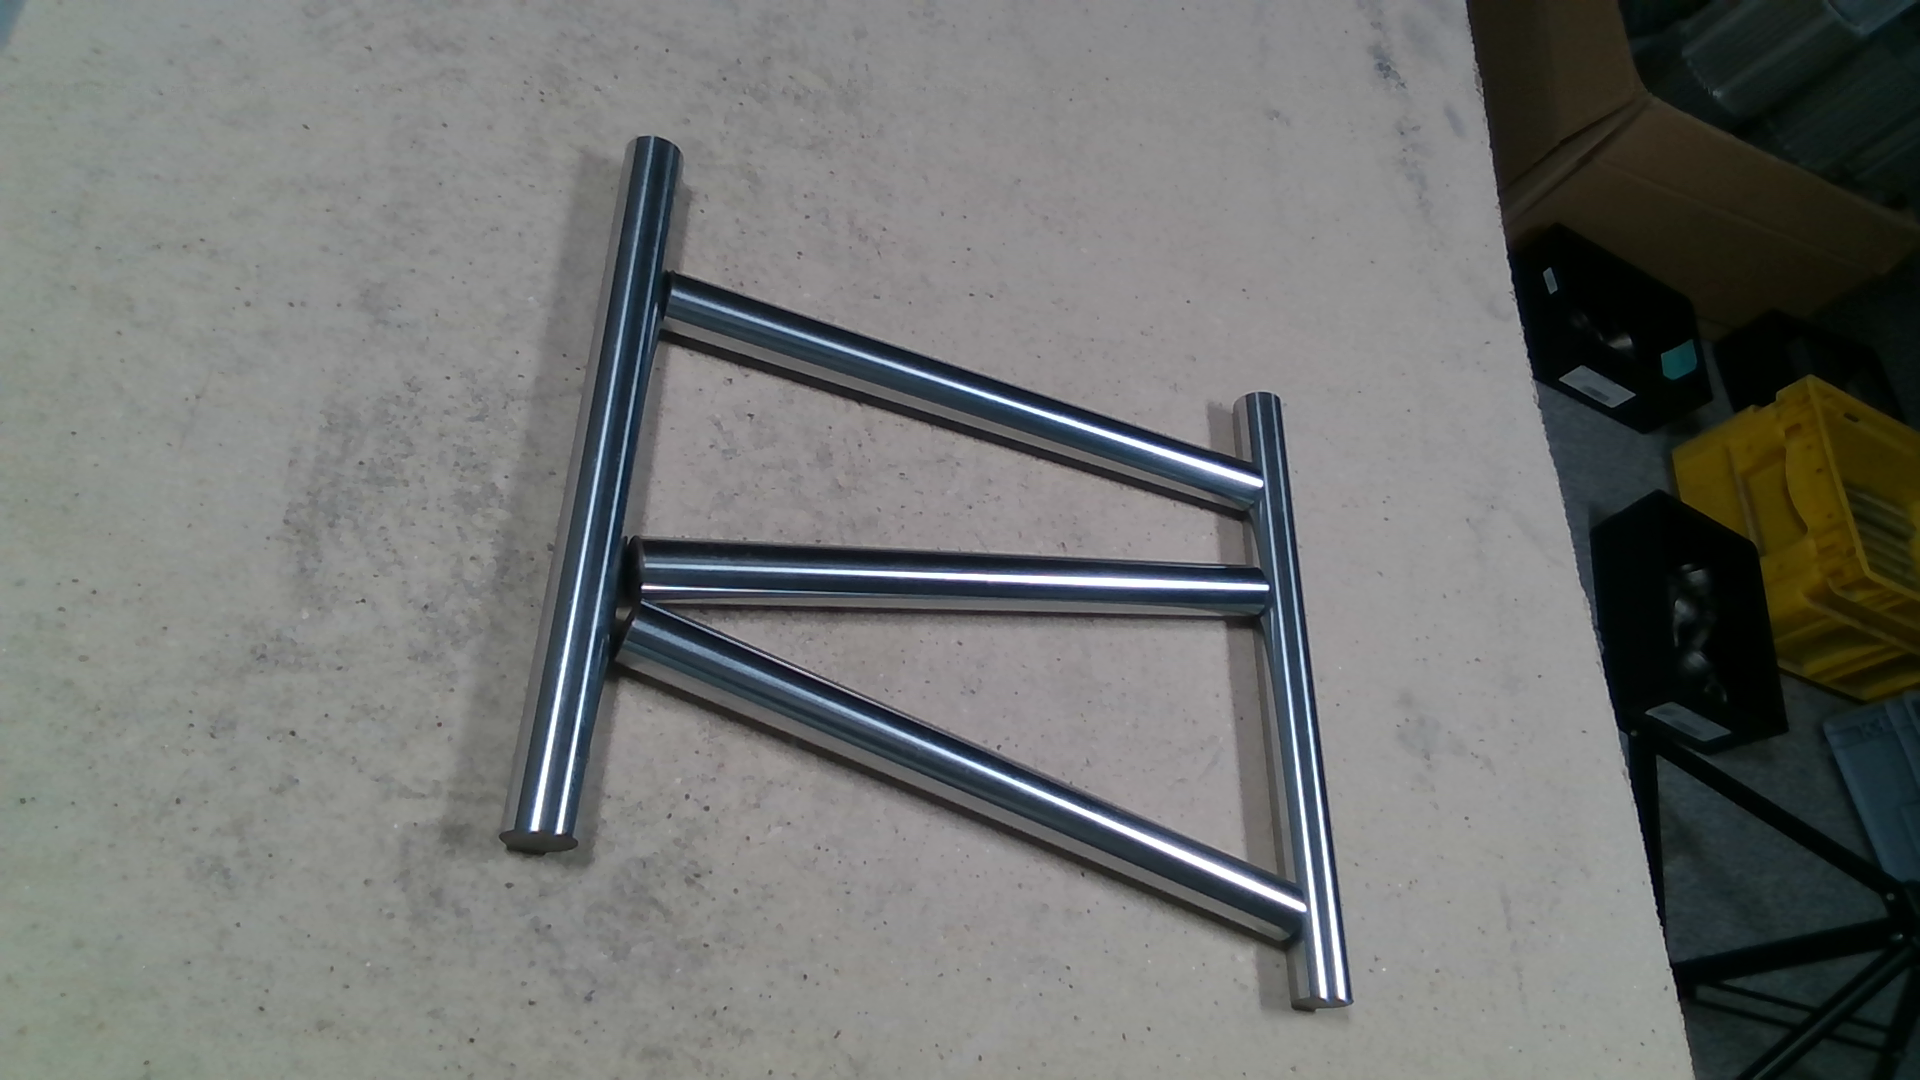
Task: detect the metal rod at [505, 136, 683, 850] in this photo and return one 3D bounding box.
[{"bbox_3d":[-0.133,-0.034,0.521,0.025,0.025,0.299,15,58,-24],"label":"metal rod"}]

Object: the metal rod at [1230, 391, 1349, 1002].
[{"bbox_3d":[0.152,0.061,0.647,0.025,0.025,0.299,15,58,-24],"label":"metal rod"}]

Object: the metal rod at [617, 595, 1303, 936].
[{"bbox_3d":[0.009,0.094,0.540,0.300,0.025,0.025,26,54,-18],"label":"metal rod"}]

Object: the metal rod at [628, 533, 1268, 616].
[{"bbox_3d":[0.009,0.017,0.582,0.300,0.025,0.025,3,64,-30],"label":"metal rod"}]

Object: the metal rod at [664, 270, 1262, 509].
[{"bbox_3d":[0.011,-0.062,0.626,0.300,0.025,0.025,15,58,-24],"label":"metal rod"}]
